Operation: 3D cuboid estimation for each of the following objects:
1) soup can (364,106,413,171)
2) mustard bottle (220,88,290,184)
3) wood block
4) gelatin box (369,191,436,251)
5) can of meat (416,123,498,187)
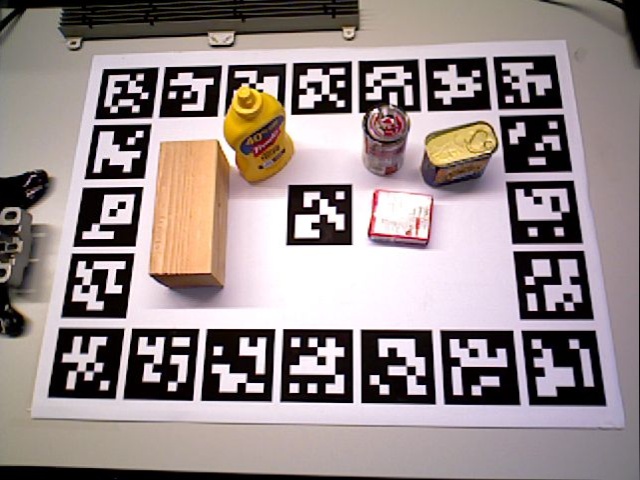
[{"bbox_3d":[0.098,-0.152,0.791,0.068,0.103,0.067,-1,72,3],"label":"soup can"},{"bbox_3d":[-0.097,-0.152,0.773,0.095,0.194,0.058,-25,71,-7],"label":"mustard bottle"},{"bbox_3d":[-0.192,-0.035,0.792,0.091,0.091,0.204,0,68,2],"label":"wood block"},{"bbox_3d":[0.120,-0.028,0.792,0.089,0.030,0.073,8,75,9],"label":"gelatin box"},{"bbox_3d":[0.196,-0.126,0.794,0.101,0.085,0.057,-14,71,-3],"label":"can of meat"}]
